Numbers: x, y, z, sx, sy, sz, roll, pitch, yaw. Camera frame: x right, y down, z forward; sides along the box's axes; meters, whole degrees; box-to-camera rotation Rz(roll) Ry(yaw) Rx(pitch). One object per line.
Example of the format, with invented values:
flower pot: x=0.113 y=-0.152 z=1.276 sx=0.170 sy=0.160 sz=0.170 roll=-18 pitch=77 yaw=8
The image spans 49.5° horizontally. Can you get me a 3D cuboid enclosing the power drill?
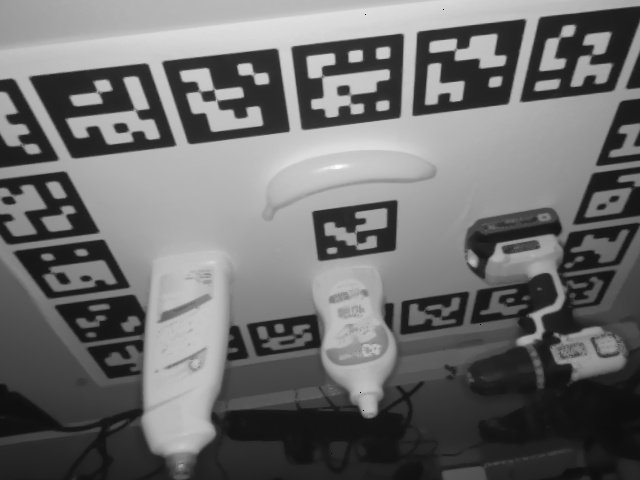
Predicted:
power drill: x=0.245 y=0.100 z=0.804 sx=0.185 sy=0.188 sz=0.057 roll=-14 pitch=138 yaw=-1

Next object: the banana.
banana: x=0.038 y=-0.057 z=0.737 sx=0.198 sy=0.039 sz=0.074 roll=-13 pitch=136 yaw=-1

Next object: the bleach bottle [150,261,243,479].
bleach bottle: x=-0.134 y=0.139 z=0.772 sx=0.103 sy=0.252 sz=0.067 roll=-1 pitch=138 yaw=-8

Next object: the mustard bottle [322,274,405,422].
mustard bottle: x=0.058 y=0.133 z=0.851 sx=0.096 sy=0.192 sz=0.058 roll=-11 pitch=138 yaw=5
